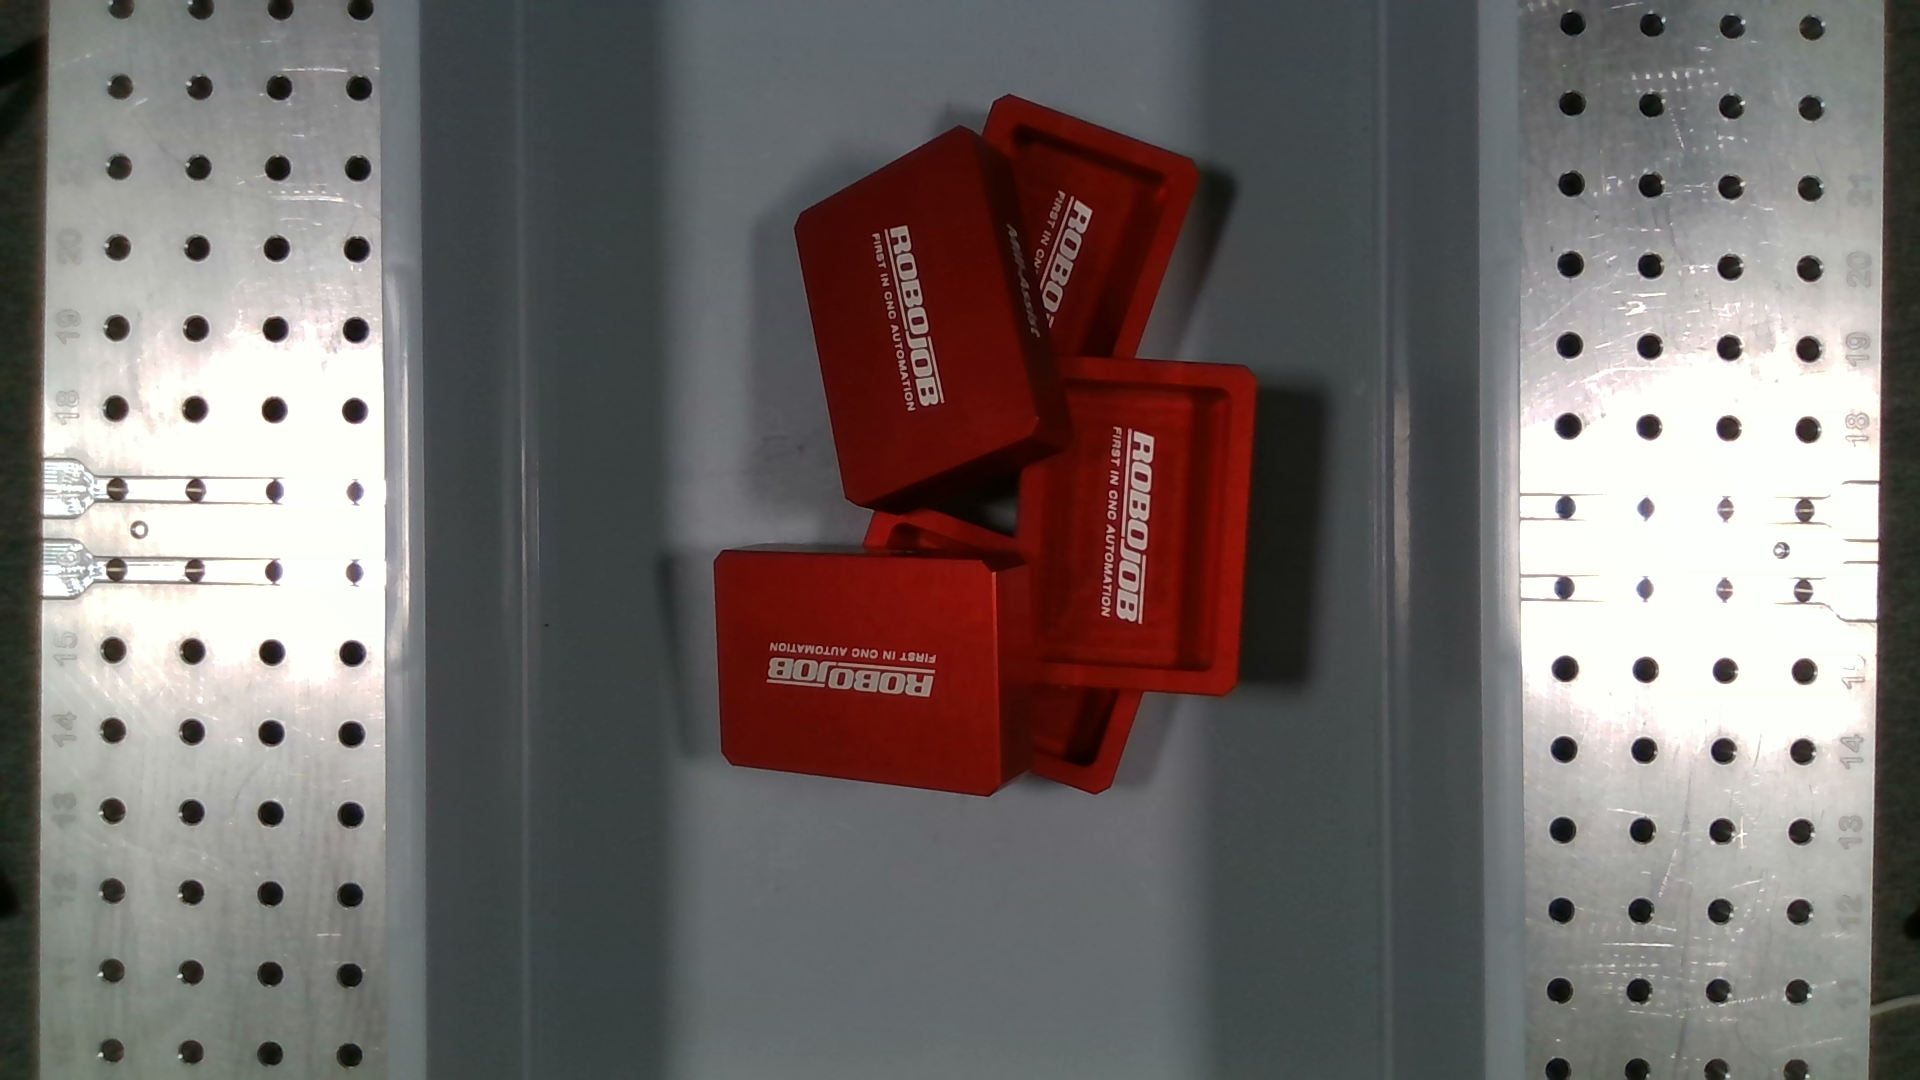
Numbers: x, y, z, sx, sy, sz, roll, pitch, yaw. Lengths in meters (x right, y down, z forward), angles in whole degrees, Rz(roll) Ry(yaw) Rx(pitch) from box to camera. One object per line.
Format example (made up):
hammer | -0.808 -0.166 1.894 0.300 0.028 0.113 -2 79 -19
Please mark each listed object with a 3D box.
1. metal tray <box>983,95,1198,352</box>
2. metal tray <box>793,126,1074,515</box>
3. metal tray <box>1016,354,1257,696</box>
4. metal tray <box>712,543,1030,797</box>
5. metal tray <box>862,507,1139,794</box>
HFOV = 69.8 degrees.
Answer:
metal tray | 0.036 -0.109 0.581 0.090 0.030 0.130 20 90 0
metal tray | -0.013 -0.086 0.548 0.090 0.030 0.130 -20 73 29
metal tray | 0.068 -0.006 0.553 0.090 0.030 0.130 3 91 0
metal tray | -0.037 0.049 0.551 0.130 0.030 0.090 2 97 28
metal tray | 0.014 0.043 0.583 0.130 0.030 0.090 19 90 0
